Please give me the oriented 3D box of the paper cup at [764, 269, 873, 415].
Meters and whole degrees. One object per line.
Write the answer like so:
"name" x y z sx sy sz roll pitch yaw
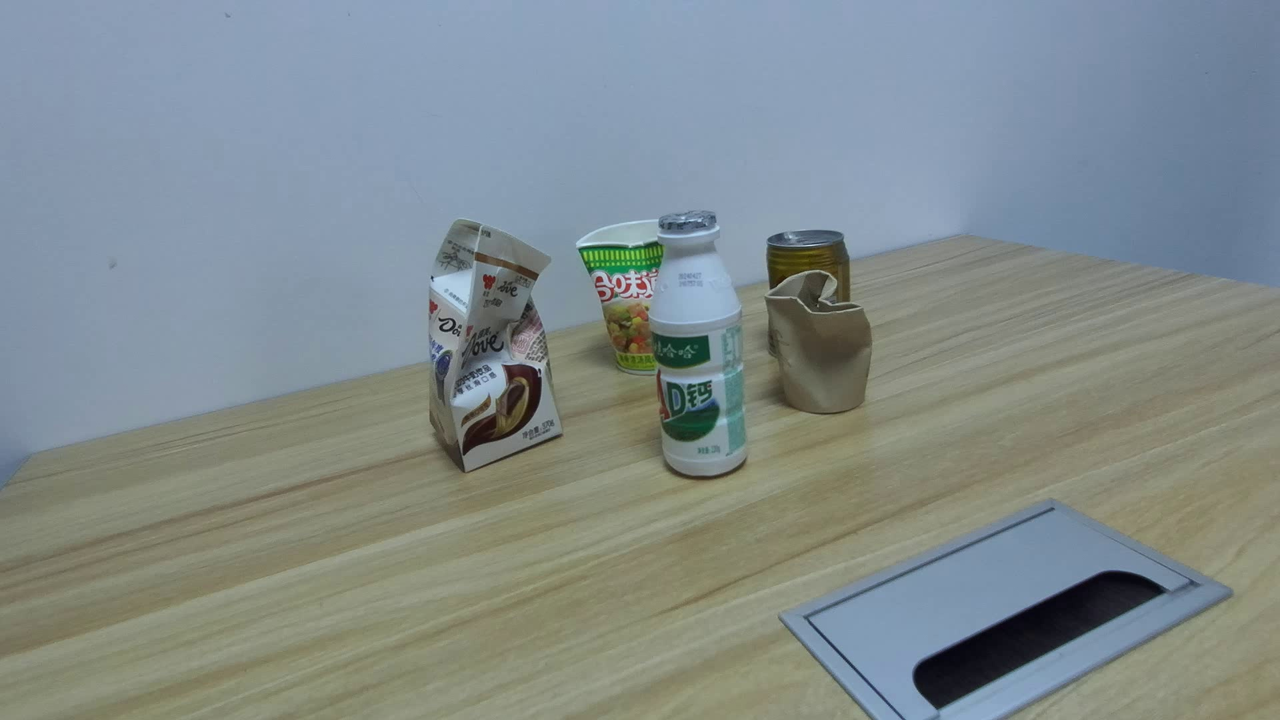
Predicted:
"paper cup" 0.124 -0.010 0.469 0.058 0.083 0.067 14 31 37

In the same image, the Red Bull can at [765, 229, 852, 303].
"Red Bull can" 0.134 -0.053 0.569 0.068 0.093 0.068 -5 23 2

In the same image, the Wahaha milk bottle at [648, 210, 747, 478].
"Wahaha milk bottle" 0.032 -0.008 0.401 0.053 0.147 0.053 -6 20 3

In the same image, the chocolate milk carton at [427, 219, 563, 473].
"chocolate milk carton" -0.098 -0.014 0.470 0.090 0.155 0.076 -5 20 -36

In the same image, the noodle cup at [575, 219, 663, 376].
"noodle cup" 0.014 -0.052 0.560 0.093 0.109 0.087 8 28 36
